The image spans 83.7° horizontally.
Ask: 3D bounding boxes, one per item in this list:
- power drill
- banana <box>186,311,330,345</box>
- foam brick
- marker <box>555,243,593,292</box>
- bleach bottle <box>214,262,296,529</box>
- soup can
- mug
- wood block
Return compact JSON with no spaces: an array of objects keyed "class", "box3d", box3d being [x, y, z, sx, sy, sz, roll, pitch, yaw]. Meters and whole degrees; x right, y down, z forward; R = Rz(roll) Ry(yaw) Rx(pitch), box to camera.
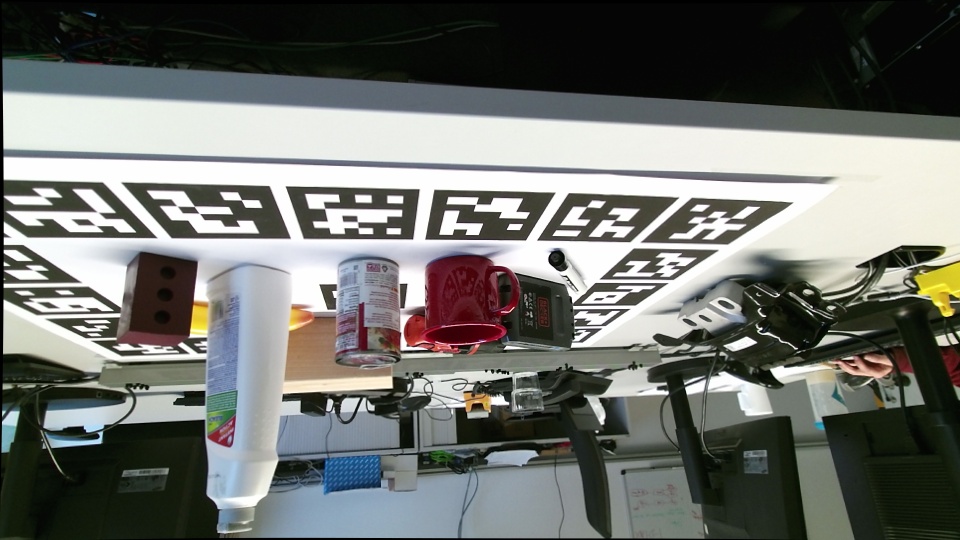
[{"class":"power drill","box3d":[0.020,0.072,0.729,0.185,0.057,0.187,16,151,-34]},{"class":"banana","box3d":[-0.292,0.070,0.671,0.198,0.038,0.074,8,141,-23]},{"class":"foam brick","box3d":[-0.312,0.026,0.522,0.053,0.077,0.051,13,154,-41]},{"class":"marker","box3d":[0.108,-0.002,0.610,0.020,0.019,0.121,-15,155,17]},{"class":"bleach bottle","box3d":[-0.235,0.124,0.543,0.068,0.249,0.103,12,153,-37]},{"class":"soup can","box3d":[-0.111,0.049,0.562,0.068,0.101,0.068,-2,161,-1]},{"class":"mug","box3d":[-0.004,0.032,0.581,0.117,0.081,0.093,-23,149,32]},{"class":"wood block","box3d":[-0.223,0.124,0.757,0.207,0.090,0.090,-1,156,-8]}]
